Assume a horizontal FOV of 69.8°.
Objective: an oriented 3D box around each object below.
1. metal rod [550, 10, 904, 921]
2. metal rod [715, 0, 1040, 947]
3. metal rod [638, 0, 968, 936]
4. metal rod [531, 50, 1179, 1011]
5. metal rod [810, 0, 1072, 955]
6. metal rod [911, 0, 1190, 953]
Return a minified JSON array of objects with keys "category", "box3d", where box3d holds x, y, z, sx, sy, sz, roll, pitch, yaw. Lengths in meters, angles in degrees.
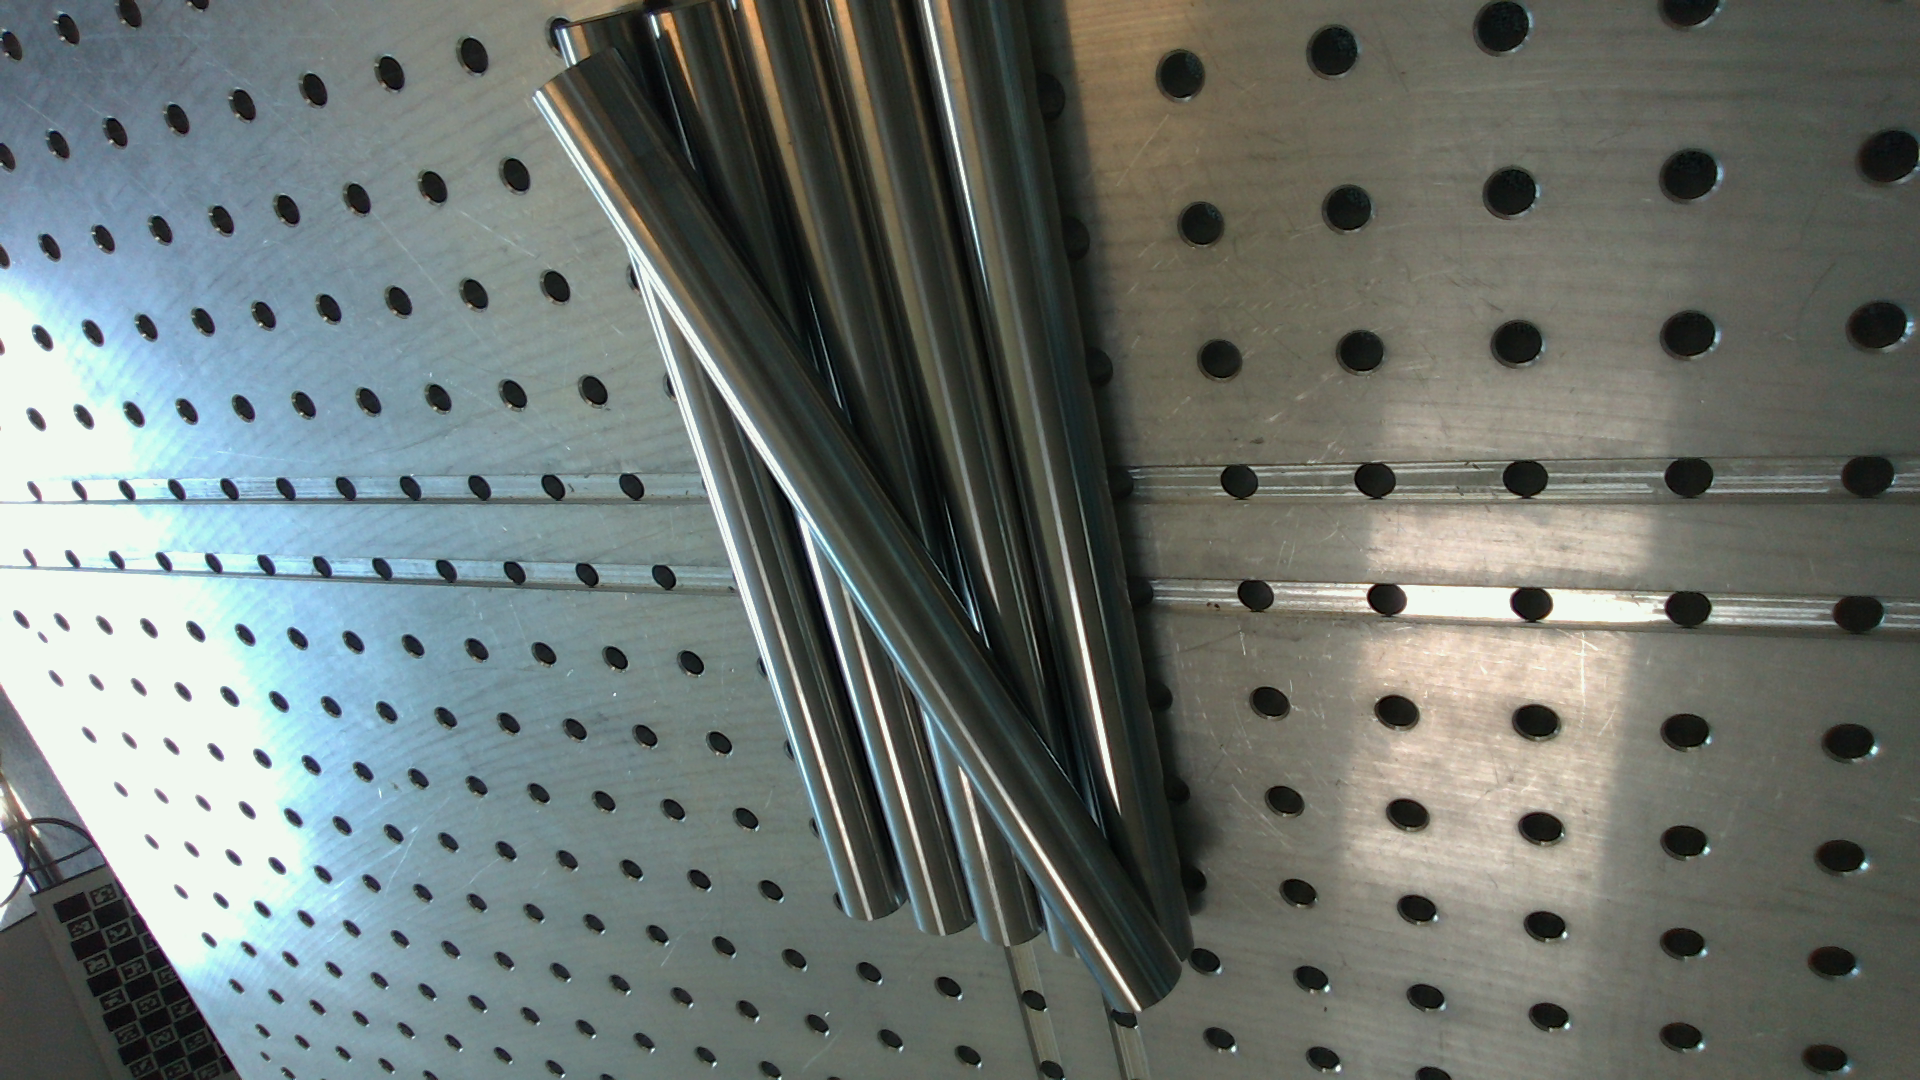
[{"category":"metal rod","box3d":[-0.063,-0.005,0.426,0.025,0.025,0.300,1,119,28]},{"category":"metal rod","box3d":[-0.016,-0.003,0.401,0.025,0.025,0.300,1,119,28]},{"category":"metal rod","box3d":[-0.037,-0.004,0.412,0.025,0.025,0.300,1,119,28]},{"category":"metal rod","box3d":[-0.021,0.009,0.380,0.025,0.025,0.300,-21,107,36]},{"category":"metal rod","box3d":[0.007,-0.004,0.390,0.025,0.025,0.300,1,119,28]},{"category":"metal rod","box3d":[0.031,-0.003,0.378,0.025,0.025,0.300,1,119,28]}]
